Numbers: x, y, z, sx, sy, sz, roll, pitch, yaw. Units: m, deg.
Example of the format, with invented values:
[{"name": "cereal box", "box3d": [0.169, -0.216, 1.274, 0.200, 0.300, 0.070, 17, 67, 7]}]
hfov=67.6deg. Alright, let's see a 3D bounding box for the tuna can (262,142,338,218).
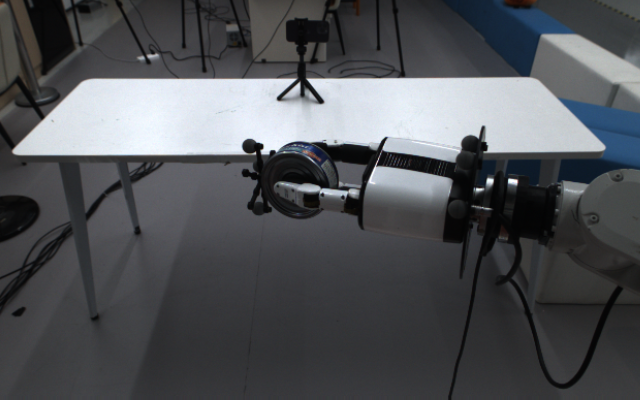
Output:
[{"name": "tuna can", "box3d": [-0.020, -0.020, 0.555, 0.085, 0.085, 0.034, 12, 28, 14]}]
